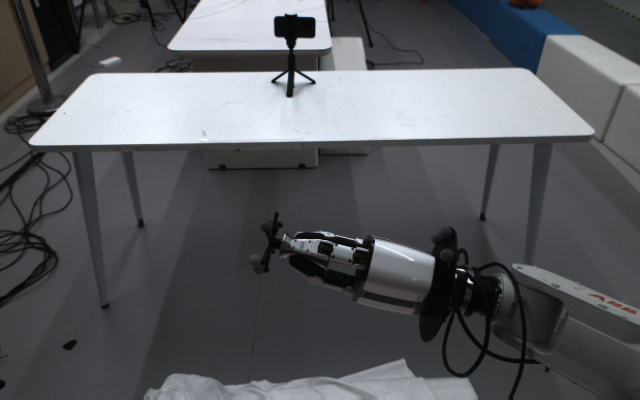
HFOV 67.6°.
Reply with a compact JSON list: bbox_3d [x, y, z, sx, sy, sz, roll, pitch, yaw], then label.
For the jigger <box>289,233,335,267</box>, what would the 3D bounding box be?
[{"bbox_3d":[-0.012,0.067,0.673,0.071,0.043,0.043,13,36,4],"label":"jigger"}]
